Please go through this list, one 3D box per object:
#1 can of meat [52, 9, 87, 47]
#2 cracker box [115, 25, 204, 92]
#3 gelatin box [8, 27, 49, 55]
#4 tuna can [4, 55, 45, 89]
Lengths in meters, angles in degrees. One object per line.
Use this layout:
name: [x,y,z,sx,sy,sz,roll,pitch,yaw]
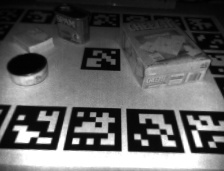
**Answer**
can of meat: [-0.124,-0.171,0.647,0.101,0.084,0.058,23,47,21]
cracker box: [0.115,-0.086,0.583,0.165,0.072,0.211,-8,43,-14]
gelatin box: [-0.238,-0.130,0.622,0.088,0.030,0.074,36,49,25]
tuna can: [-0.208,-0.034,0.517,0.086,0.034,0.085,2,47,-1]
